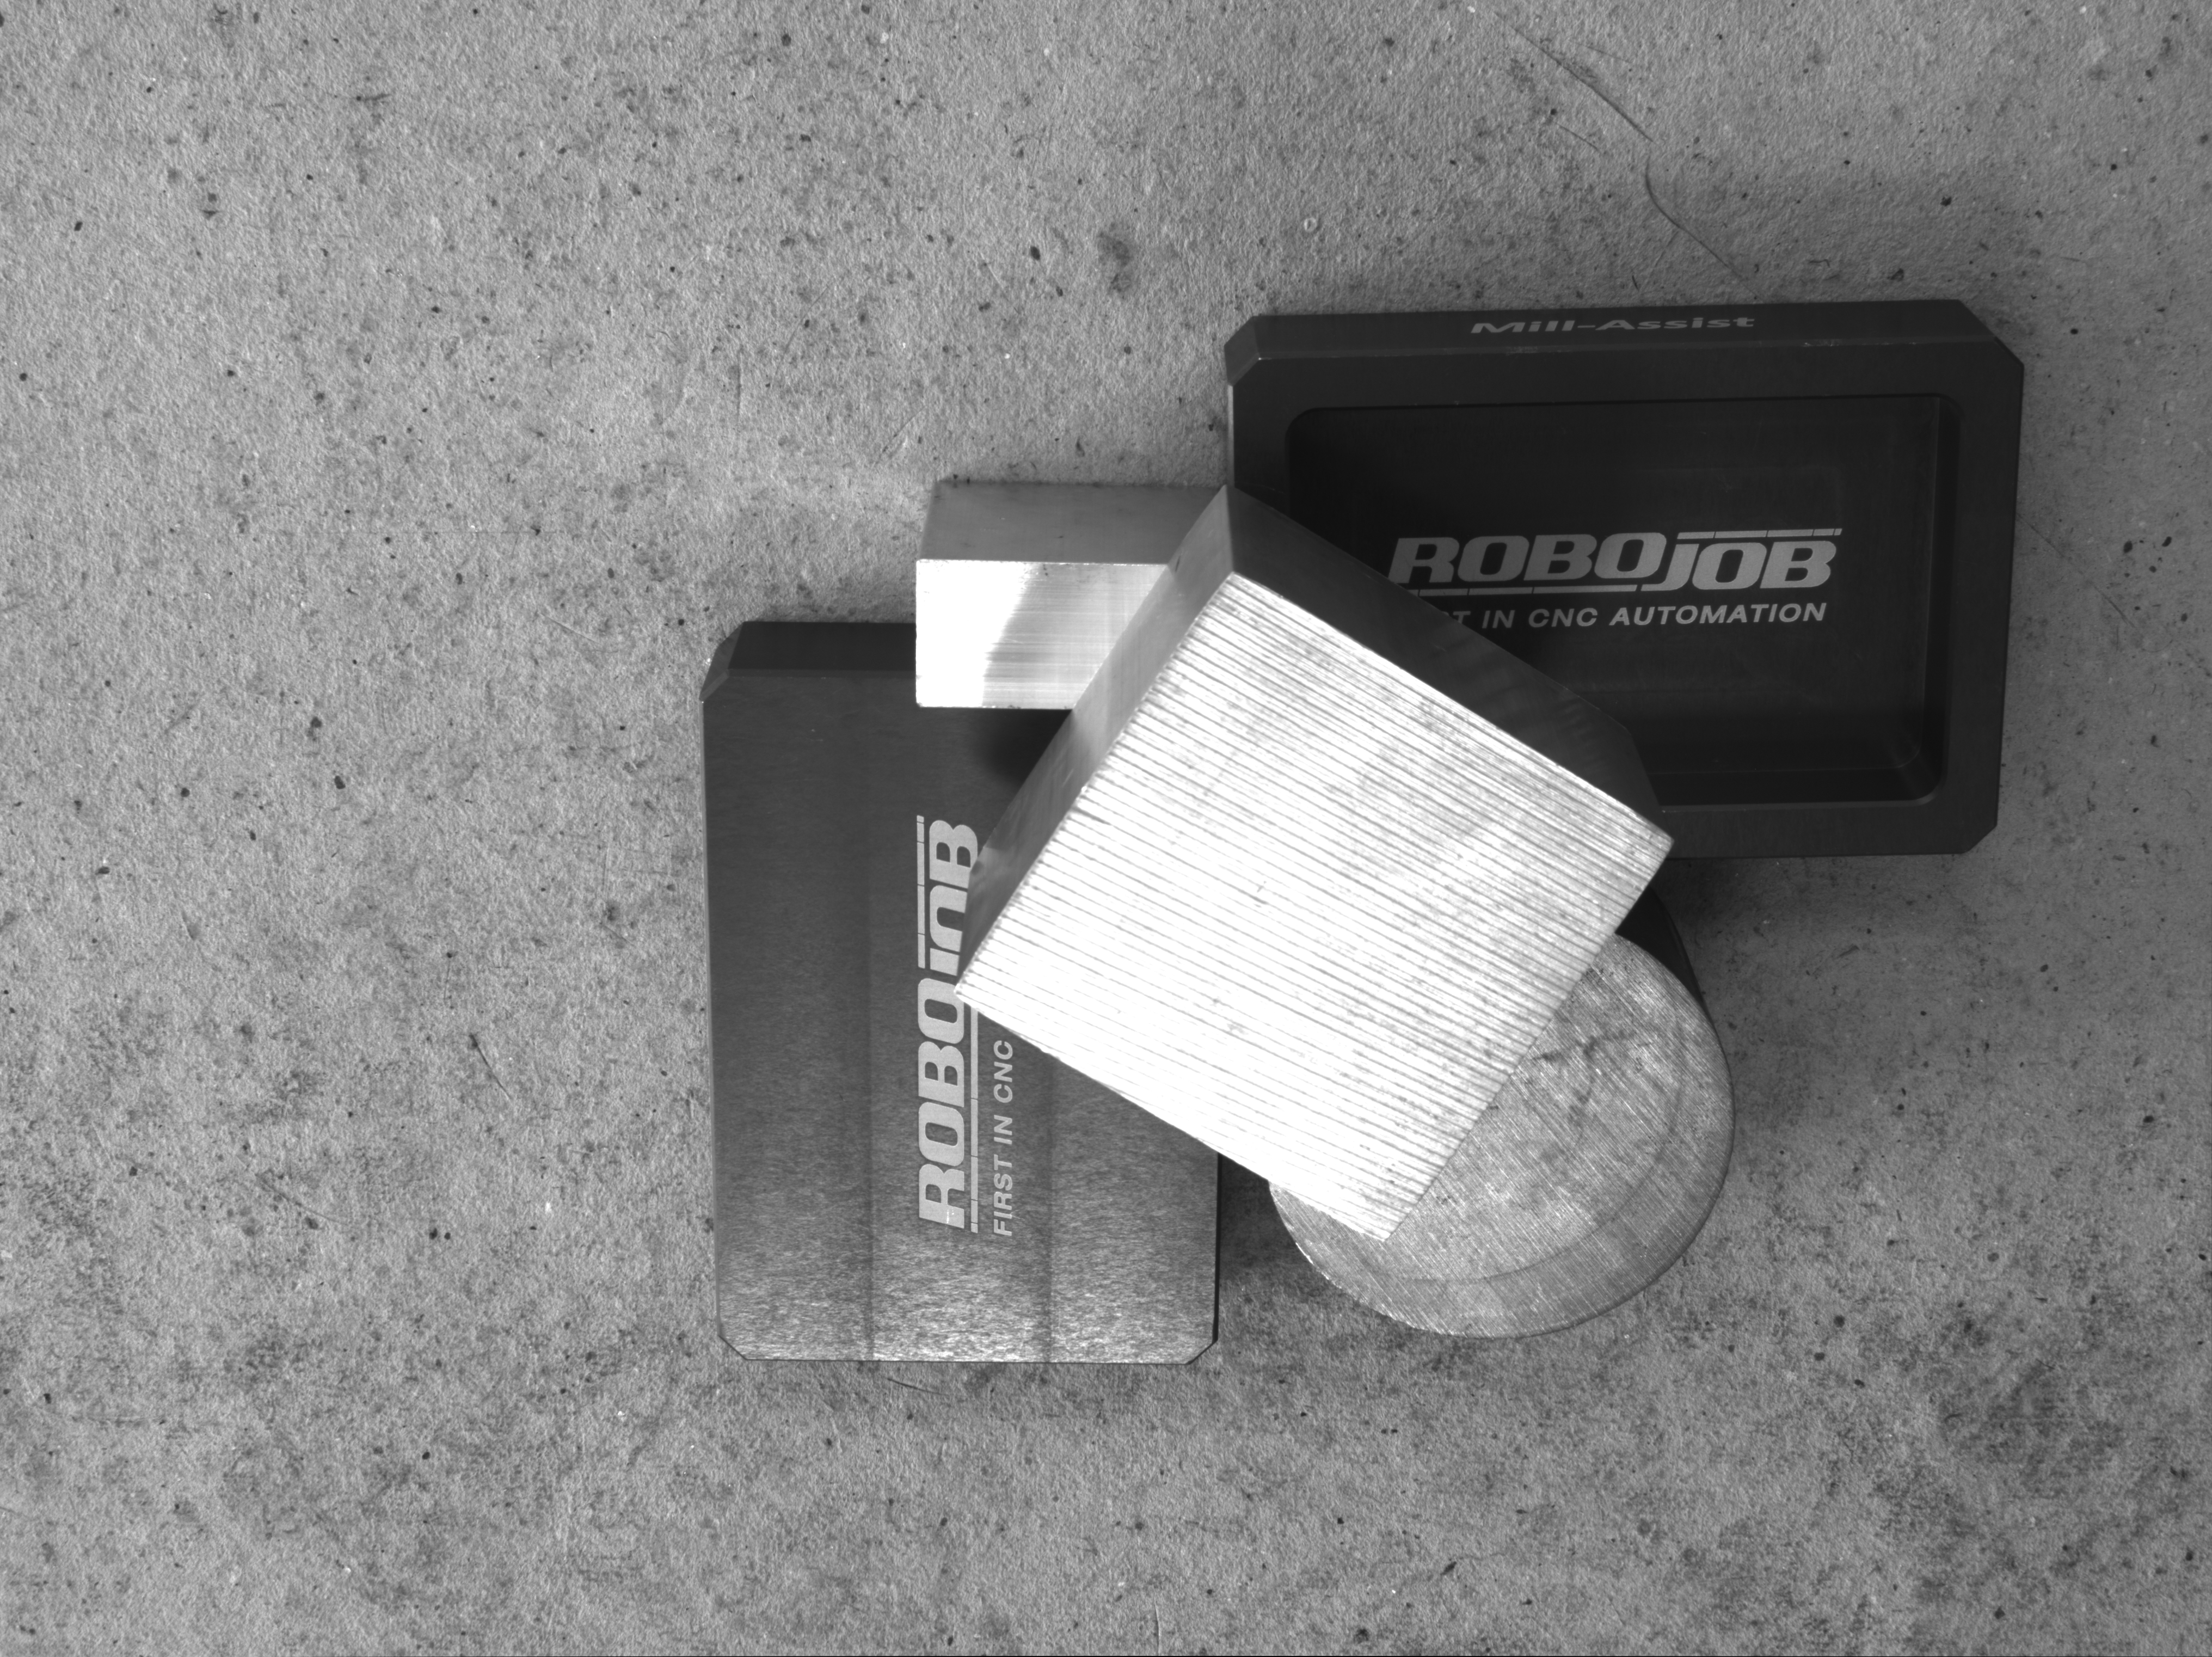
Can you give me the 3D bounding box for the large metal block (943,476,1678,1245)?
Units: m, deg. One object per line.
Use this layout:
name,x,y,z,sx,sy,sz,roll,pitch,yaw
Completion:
large metal block,0.031,0.005,0.578,0.080,0.050,0.080,31,107,-11

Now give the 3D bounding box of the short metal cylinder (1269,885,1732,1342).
short metal cylinder,0.066,0.043,0.646,0.080,0.050,0.080,0,110,1

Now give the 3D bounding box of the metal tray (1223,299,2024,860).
metal tray,0.086,-0.041,0.627,0.130,0.030,0.090,-2,110,1

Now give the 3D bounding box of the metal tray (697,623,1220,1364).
metal tray,-0.024,0.030,0.654,0.090,0.030,0.130,1,110,0

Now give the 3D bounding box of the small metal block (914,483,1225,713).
small metal block,-0.006,-0.039,0.617,0.050,0.050,0.025,1,110,0
